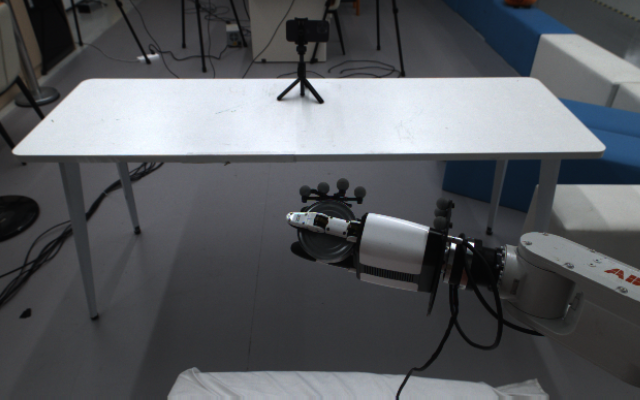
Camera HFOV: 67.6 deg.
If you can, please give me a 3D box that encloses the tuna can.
[{"bbox_3d":[0.014,0.044,0.678,0.085,0.034,0.085,-3,73,10],"label":"tuna can"}]
